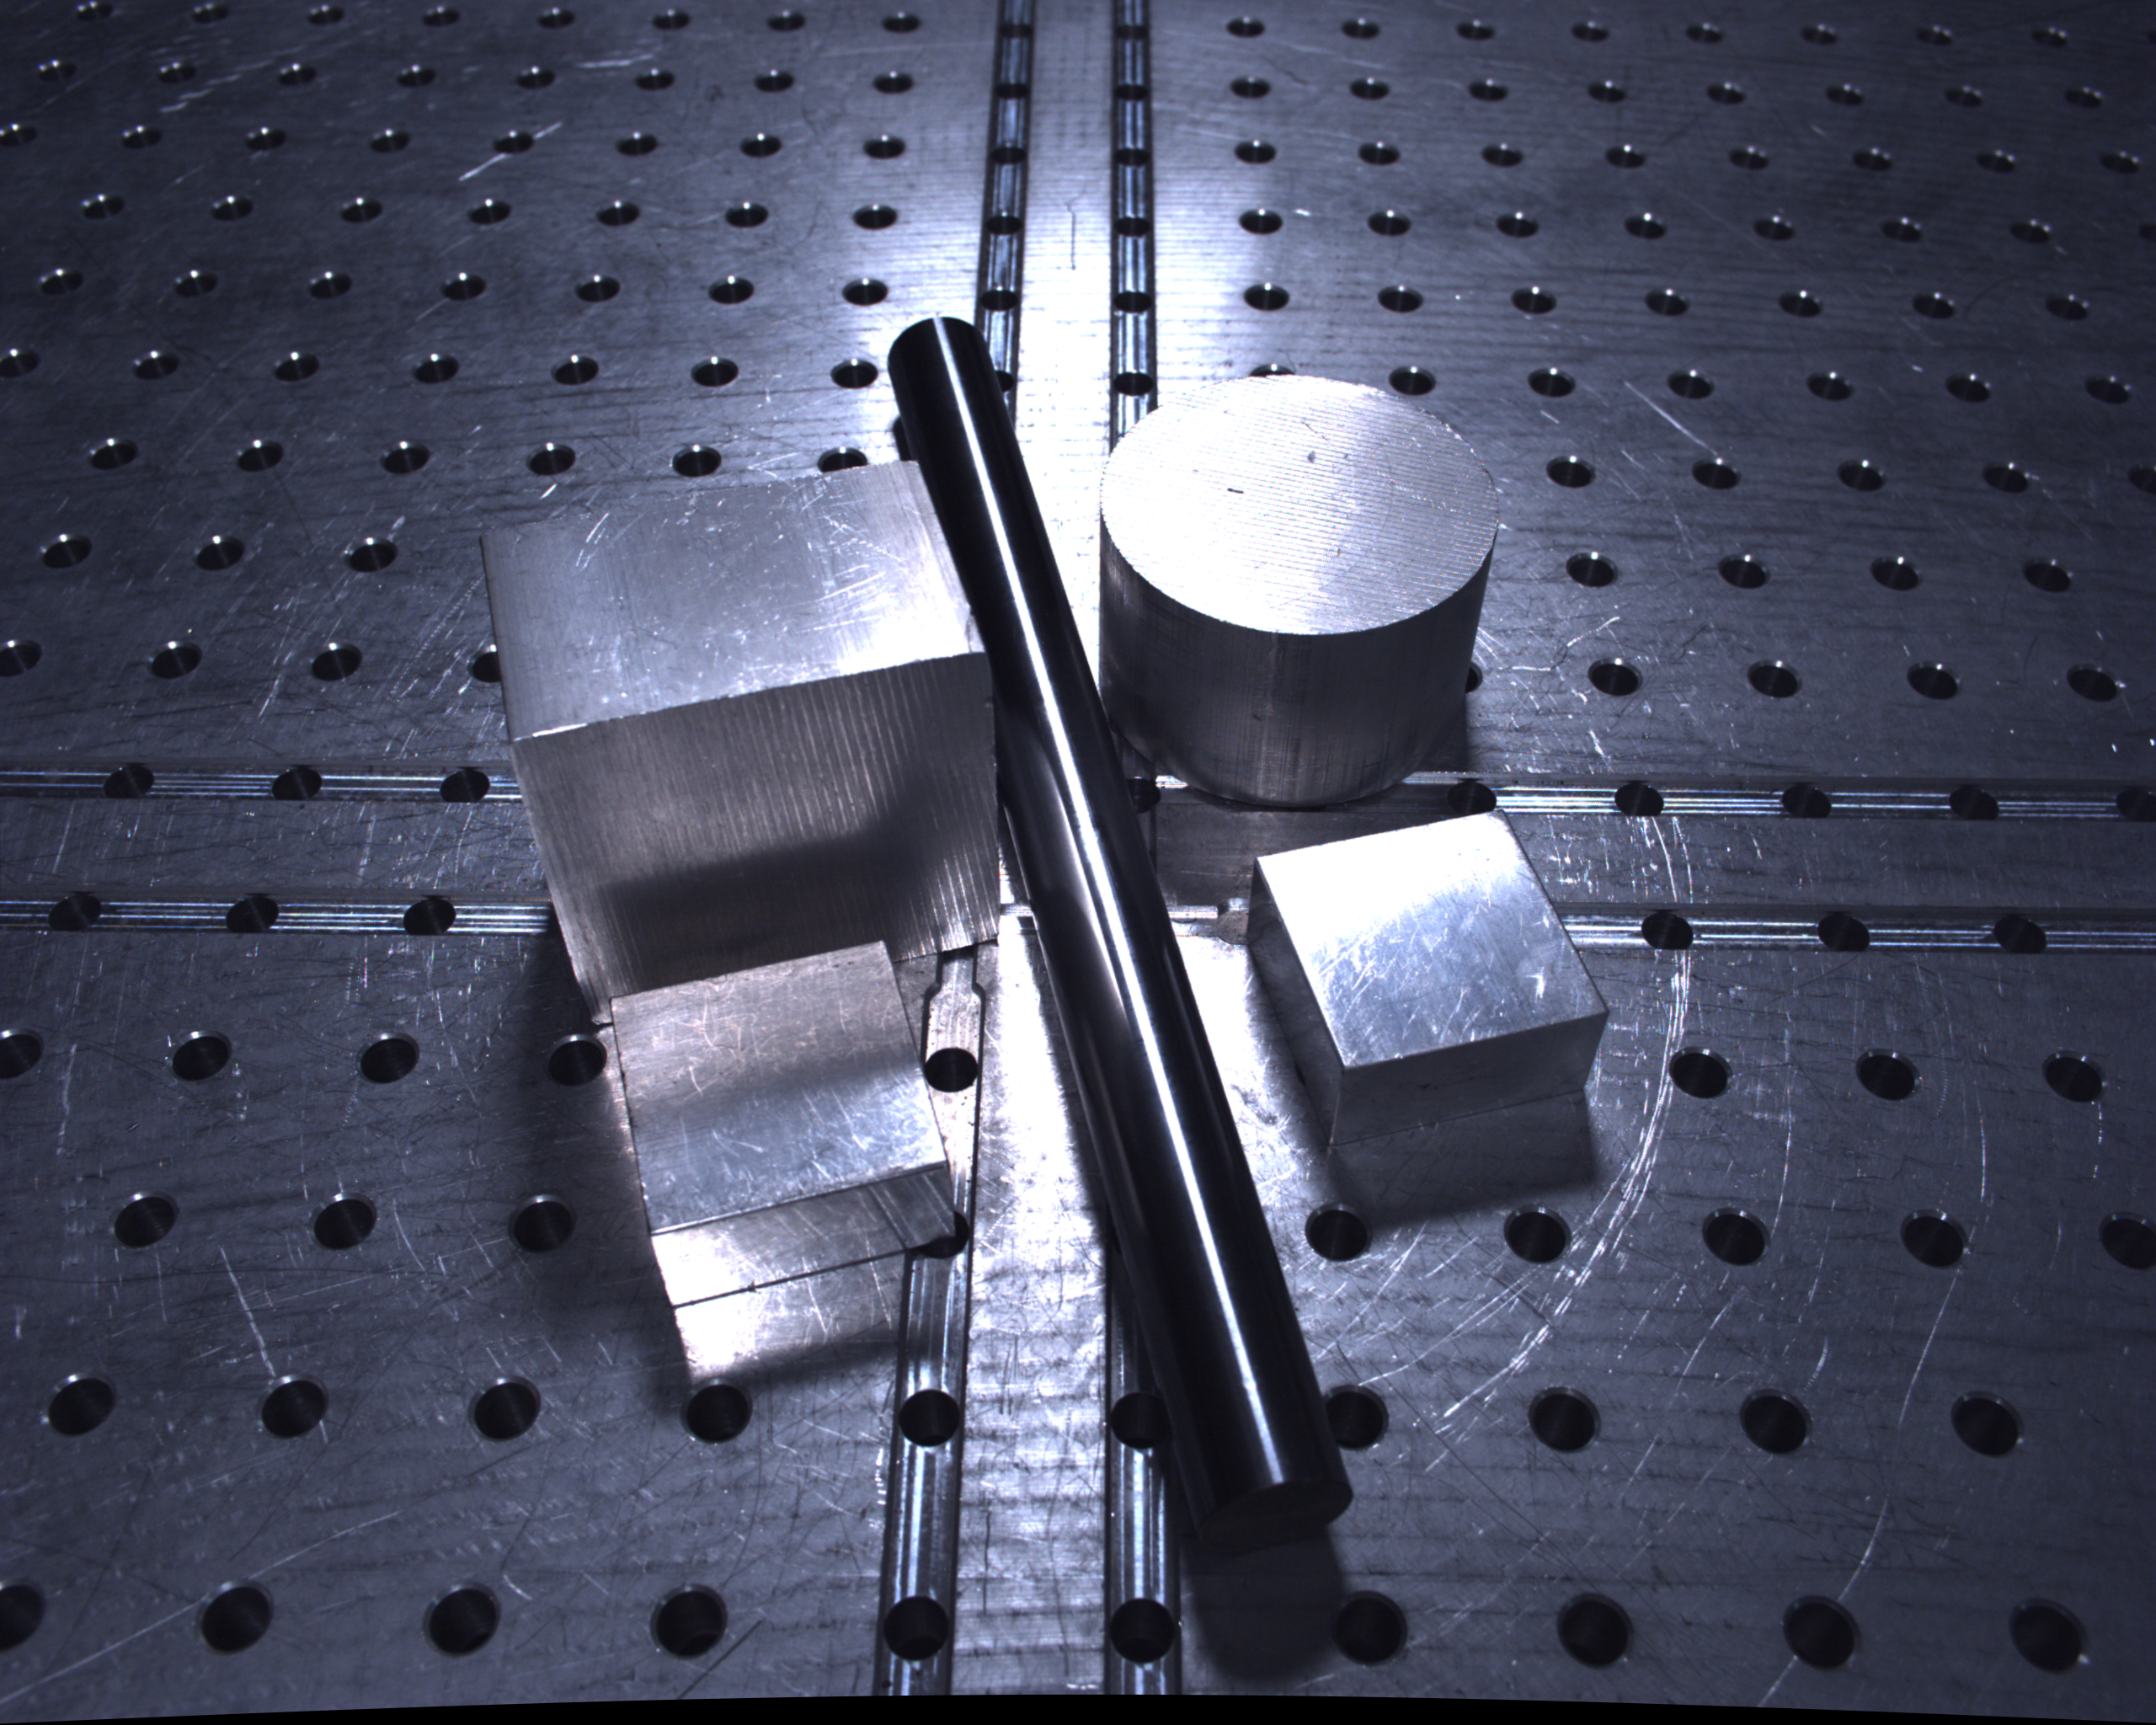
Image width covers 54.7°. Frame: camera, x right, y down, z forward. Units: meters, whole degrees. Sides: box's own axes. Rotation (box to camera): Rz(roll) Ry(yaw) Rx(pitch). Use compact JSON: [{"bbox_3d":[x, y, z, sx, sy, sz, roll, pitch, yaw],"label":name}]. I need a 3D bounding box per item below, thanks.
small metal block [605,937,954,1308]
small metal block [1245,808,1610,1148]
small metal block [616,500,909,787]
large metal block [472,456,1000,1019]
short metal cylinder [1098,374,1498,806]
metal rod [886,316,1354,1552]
[{"bbox_3d":[-0.053,0.045,0.369,0.050,0.025,0.050,-12,51,-10],"label":"small metal block"},{"bbox_3d":[0.064,0.021,0.391,0.050,0.025,0.050,-11,51,-10],"label":"small metal block"},{"bbox_3d":[-0.068,-0.048,0.447,0.050,0.025,0.050,-13,51,-12],"label":"small metal block"},{"bbox_3d":[-0.061,-0.022,0.388,0.081,0.080,0.050,-12,51,-10],"label":"large metal block"},{"bbox_3d":[0.044,-0.058,0.440,0.081,0.050,0.080,0,50,0],"label":"short metal cylinder"},{"bbox_3d":[-0.002,-0.011,0.416,0.025,0.025,0.300,-9,51,-8],"label":"metal rod"}]
